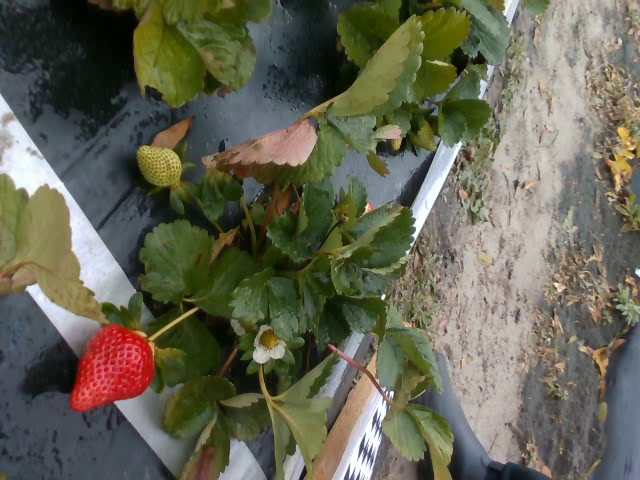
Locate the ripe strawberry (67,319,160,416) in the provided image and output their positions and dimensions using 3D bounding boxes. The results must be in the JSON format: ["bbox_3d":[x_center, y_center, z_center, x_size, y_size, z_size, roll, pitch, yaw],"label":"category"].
[{"bbox_3d":[-0.101,0.063,0.290,0.037,0.042,0.051,20,30,14],"label":"ripe strawberry"}]
